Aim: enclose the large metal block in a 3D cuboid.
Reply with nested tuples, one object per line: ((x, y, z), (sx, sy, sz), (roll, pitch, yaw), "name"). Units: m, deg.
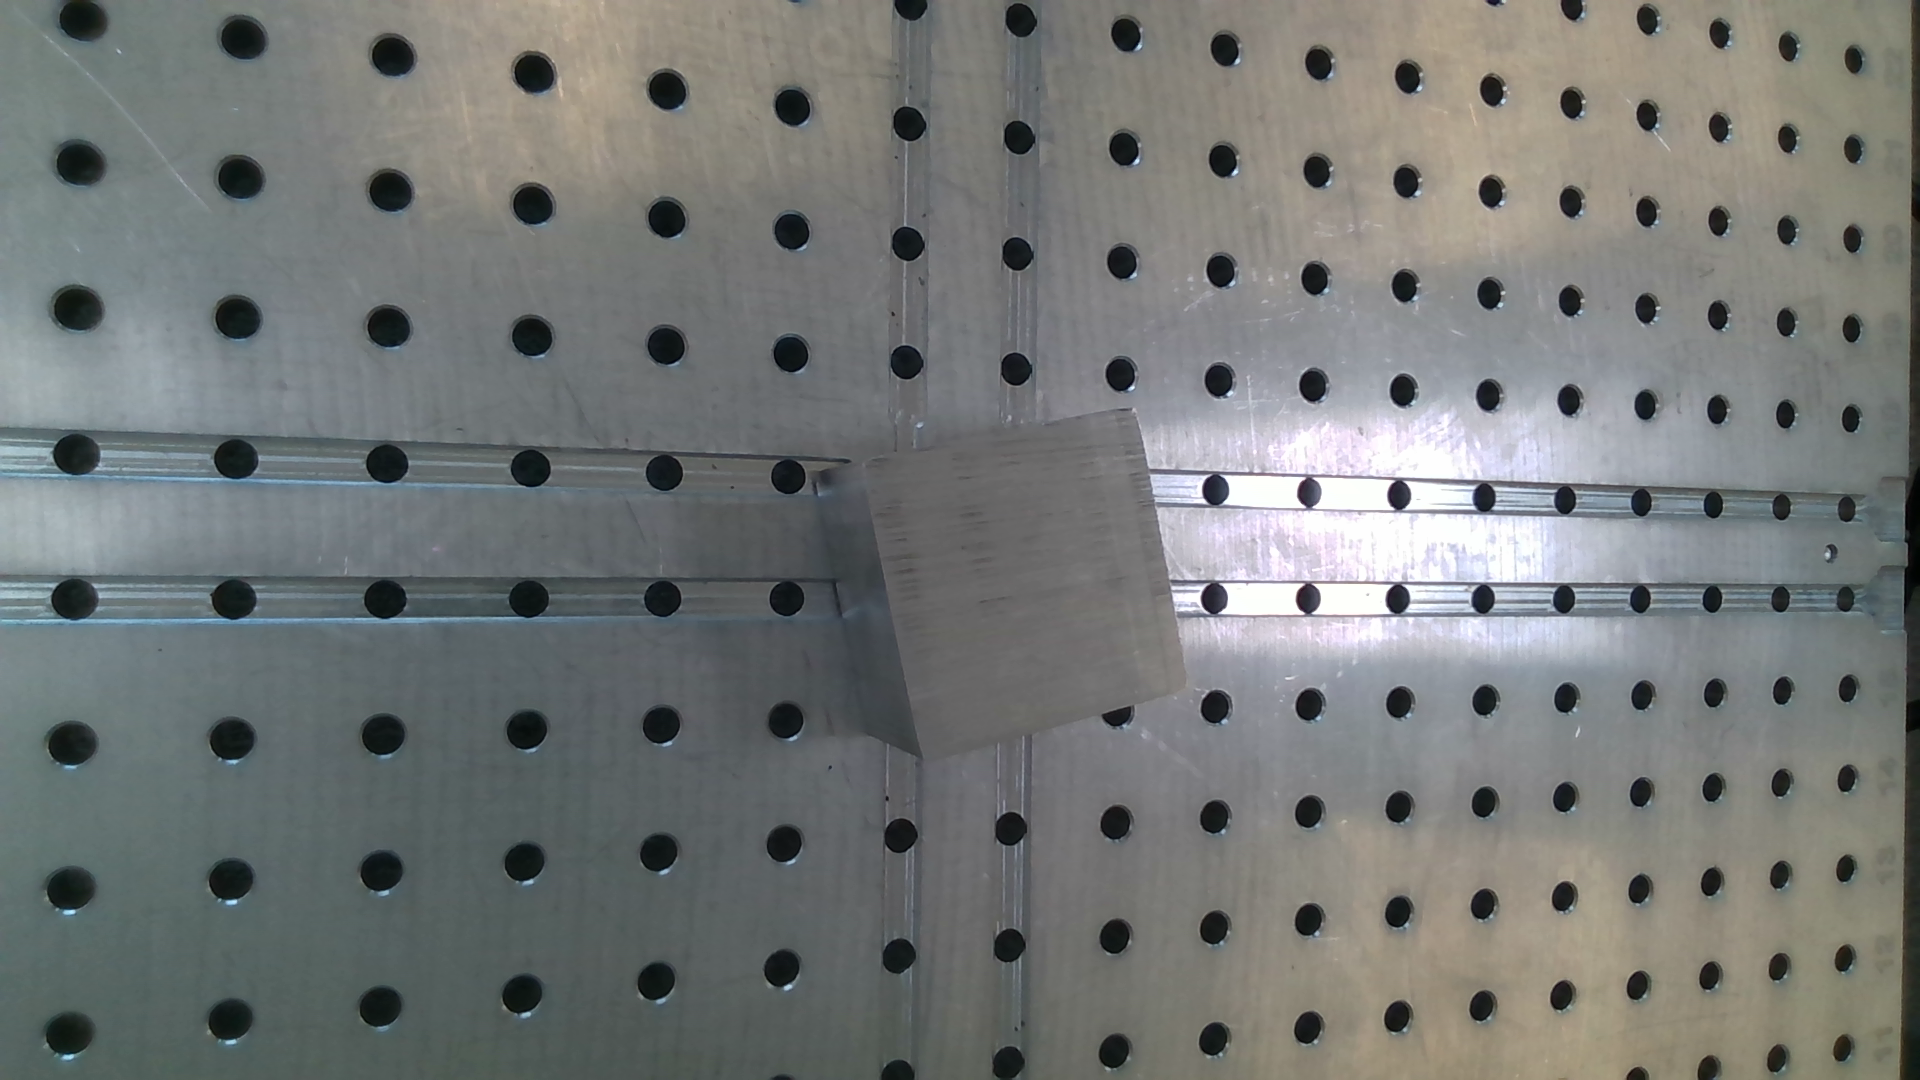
((0.011, 0.010, 0.386), (0.080, 0.050, 0.080), (-13, 94, -19), "large metal block")
